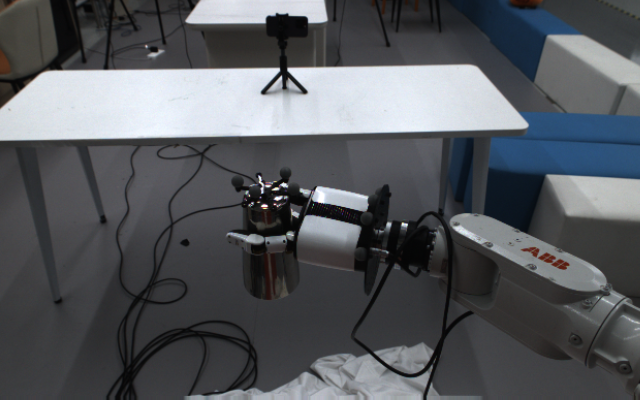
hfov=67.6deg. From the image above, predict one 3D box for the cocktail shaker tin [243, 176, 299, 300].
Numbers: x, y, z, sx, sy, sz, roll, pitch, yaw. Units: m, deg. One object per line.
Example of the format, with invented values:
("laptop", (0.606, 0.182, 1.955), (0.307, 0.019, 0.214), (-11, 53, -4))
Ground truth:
("cocktail shaker tin", (-0.074, 0.057, 0.735), (0.093, 0.170, 0.093), (1, 39, -1))
